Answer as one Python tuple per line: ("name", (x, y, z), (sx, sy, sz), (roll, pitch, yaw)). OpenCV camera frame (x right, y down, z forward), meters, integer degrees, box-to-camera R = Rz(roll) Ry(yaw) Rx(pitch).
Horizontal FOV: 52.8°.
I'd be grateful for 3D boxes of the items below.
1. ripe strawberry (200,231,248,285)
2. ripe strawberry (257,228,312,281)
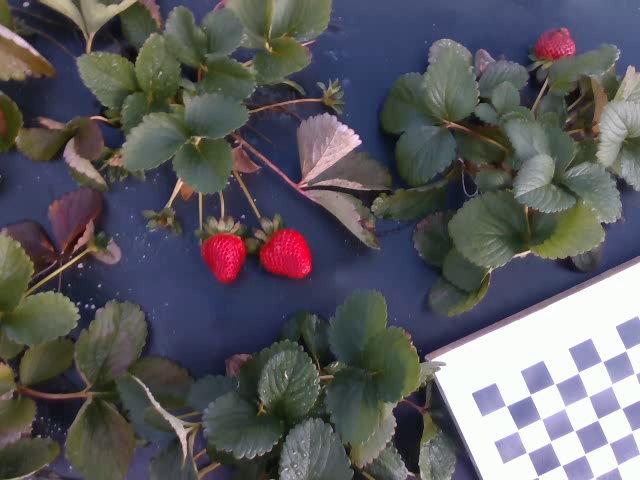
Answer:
("ripe strawberry", (-0.096, 0.020, 0.624), (0.048, 0.056, 0.041), (-10, -25, -4))
("ripe strawberry", (-0.034, 0.017, 0.622), (0.064, 0.057, 0.051), (42, -6, 31))
